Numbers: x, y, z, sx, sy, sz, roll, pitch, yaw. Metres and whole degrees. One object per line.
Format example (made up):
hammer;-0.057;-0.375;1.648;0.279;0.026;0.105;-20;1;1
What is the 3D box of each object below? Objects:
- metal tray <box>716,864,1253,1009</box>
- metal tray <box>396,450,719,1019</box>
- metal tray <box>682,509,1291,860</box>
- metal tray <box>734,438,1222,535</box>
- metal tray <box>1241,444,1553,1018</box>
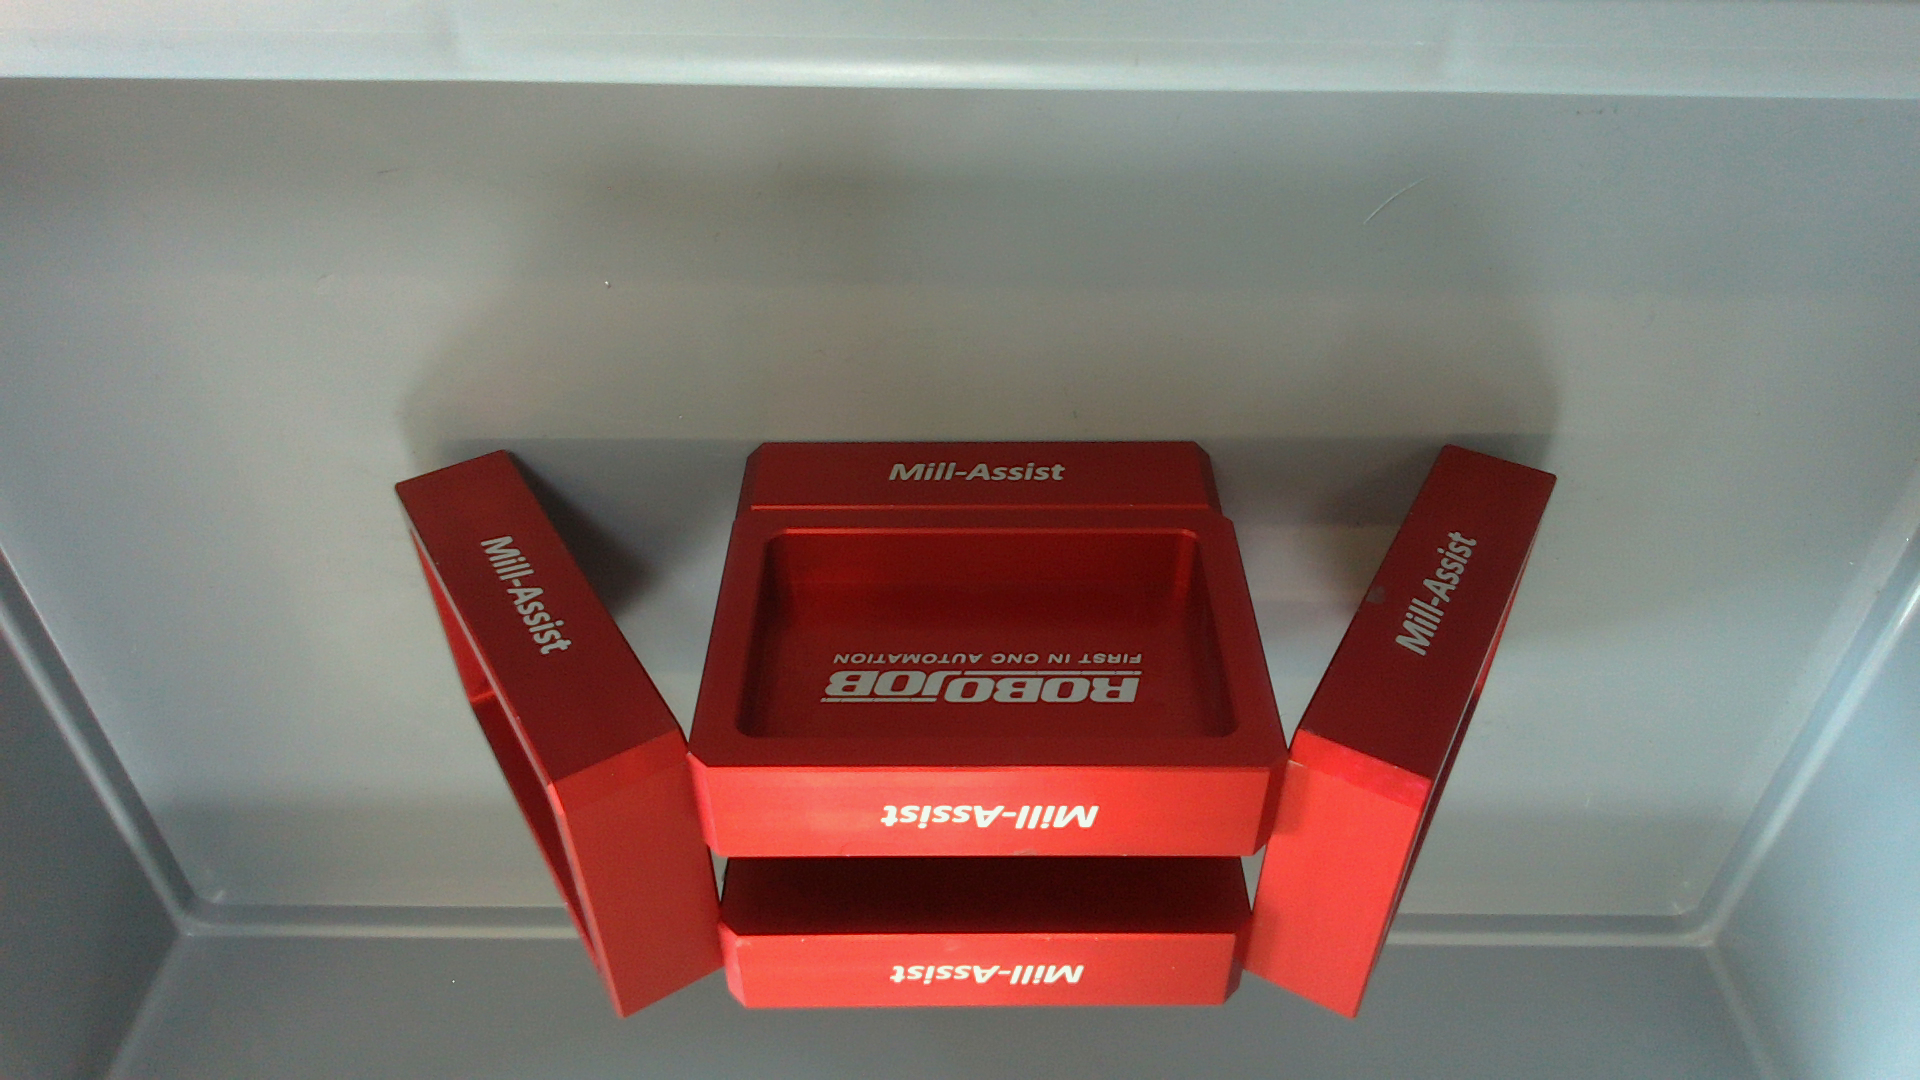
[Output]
metal tray;0.006;0.078;0.373;0.130;0.090;0.030;0;130;0
metal tray;-0.106;0.048;0.362;0.030;0.130;0.090;-22;136;-24
metal tray;0.006;0.032;0.333;0.130;0.090;0.030;0;130;0
metal tray;0.005;0.016;0.400;0.130;0.030;0.090;-1;130;0
metal tray;0.116;0.046;0.362;0.030;0.130;0.090;20;134;22
